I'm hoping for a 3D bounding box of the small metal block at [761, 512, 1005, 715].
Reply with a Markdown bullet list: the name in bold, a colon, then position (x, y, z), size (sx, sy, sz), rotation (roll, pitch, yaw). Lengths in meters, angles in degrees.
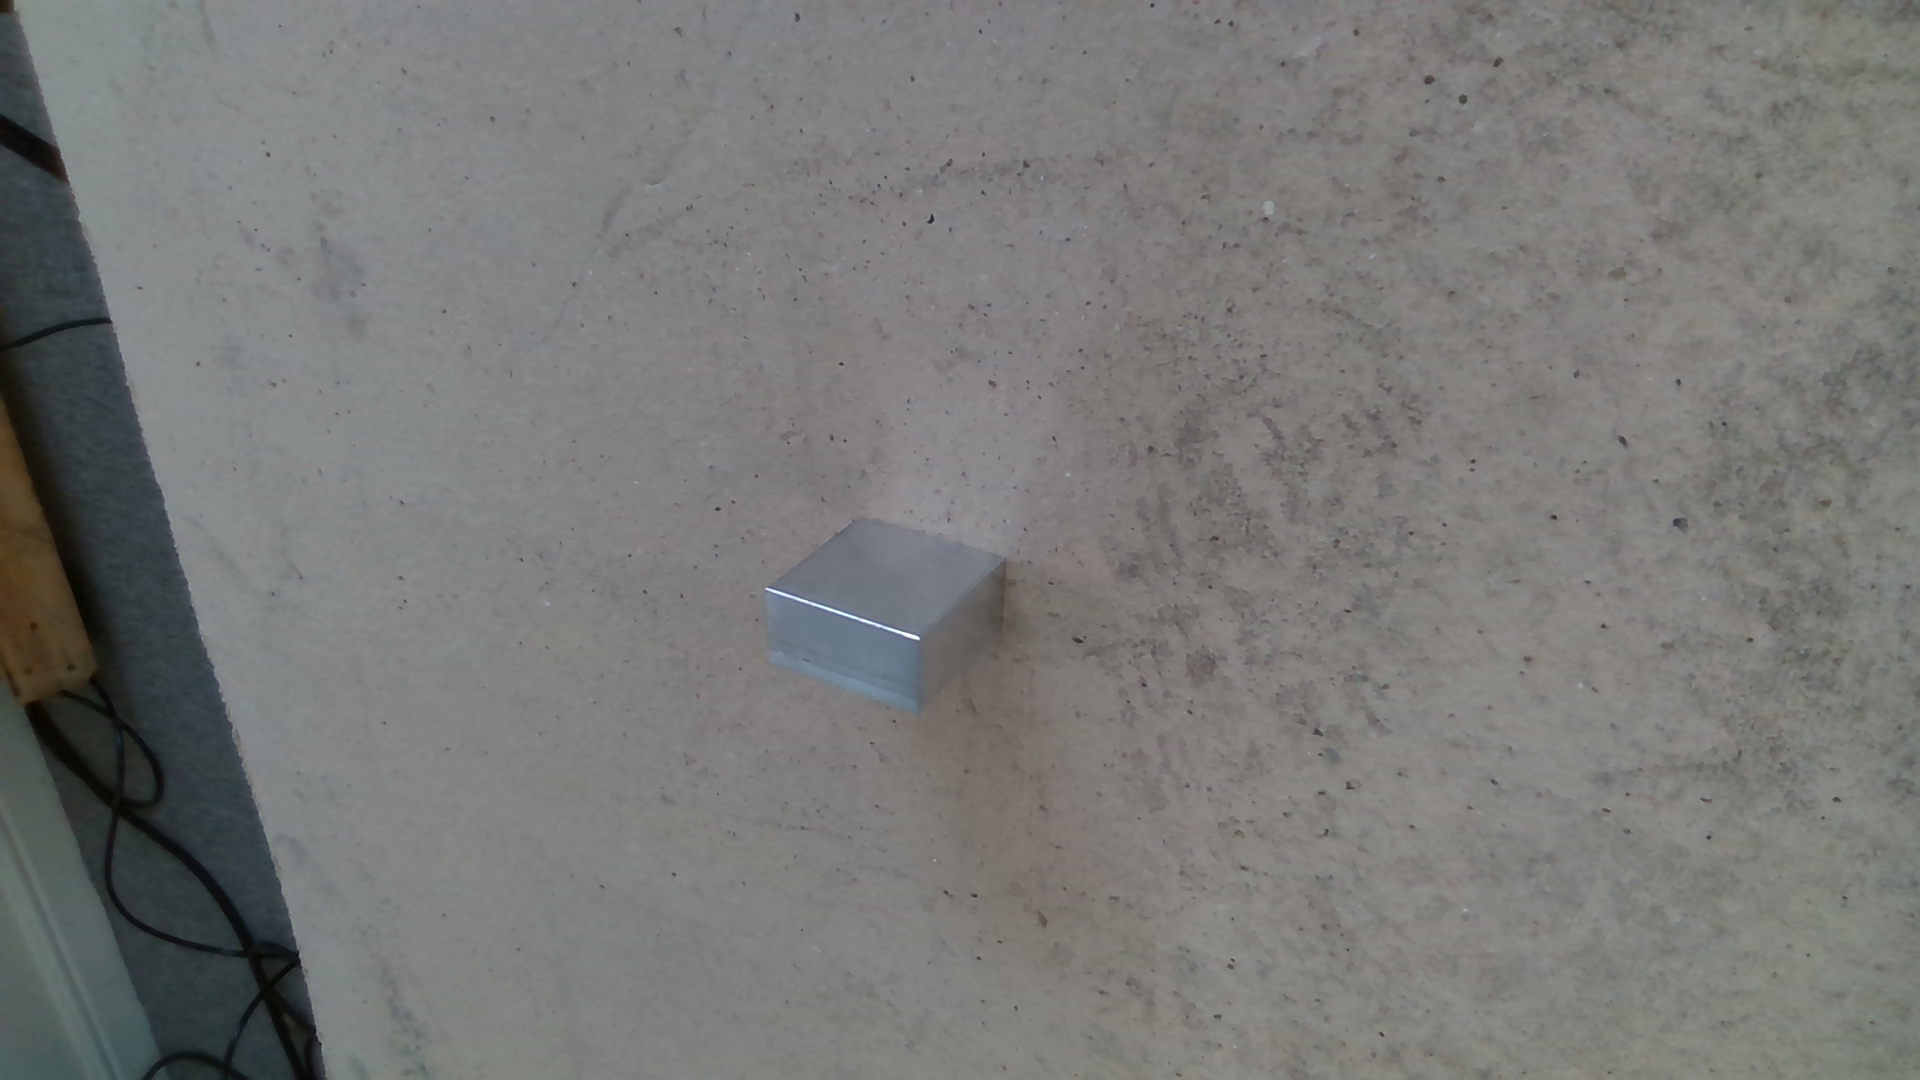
- **small metal block**: position (-0.021, 0.019, 0.396), size (0.050, 0.050, 0.025), rotation (16, 123, 24)
